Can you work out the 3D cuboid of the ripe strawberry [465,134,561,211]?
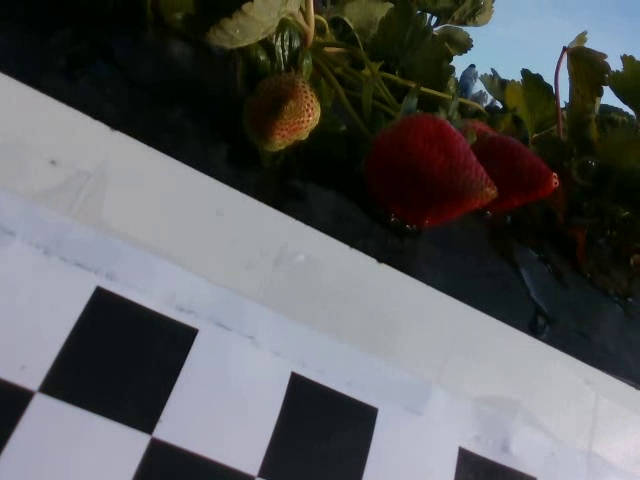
[{"bbox_3d":[0.096,-0.031,0.306,0.055,0.042,0.044,17,46,43],"label":"ripe strawberry"}]

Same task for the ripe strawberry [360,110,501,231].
[{"bbox_3d":[0.047,-0.028,0.236,0.050,0.050,0.065,-14,20,-26],"label":"ripe strawberry"}]
